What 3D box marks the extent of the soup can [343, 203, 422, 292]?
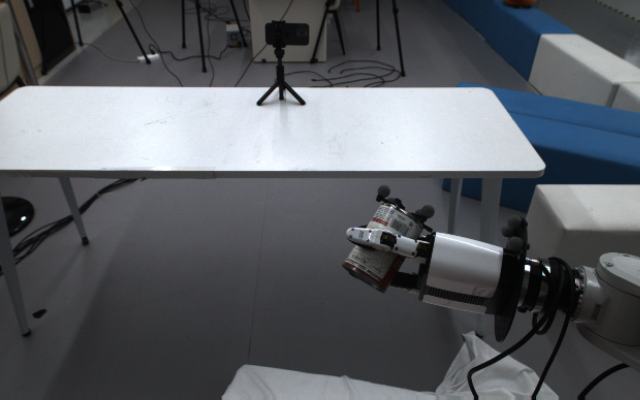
[{"bbox_3d":[0.085,0.062,0.648,0.067,0.067,0.101,28,78,32],"label":"soup can"}]
